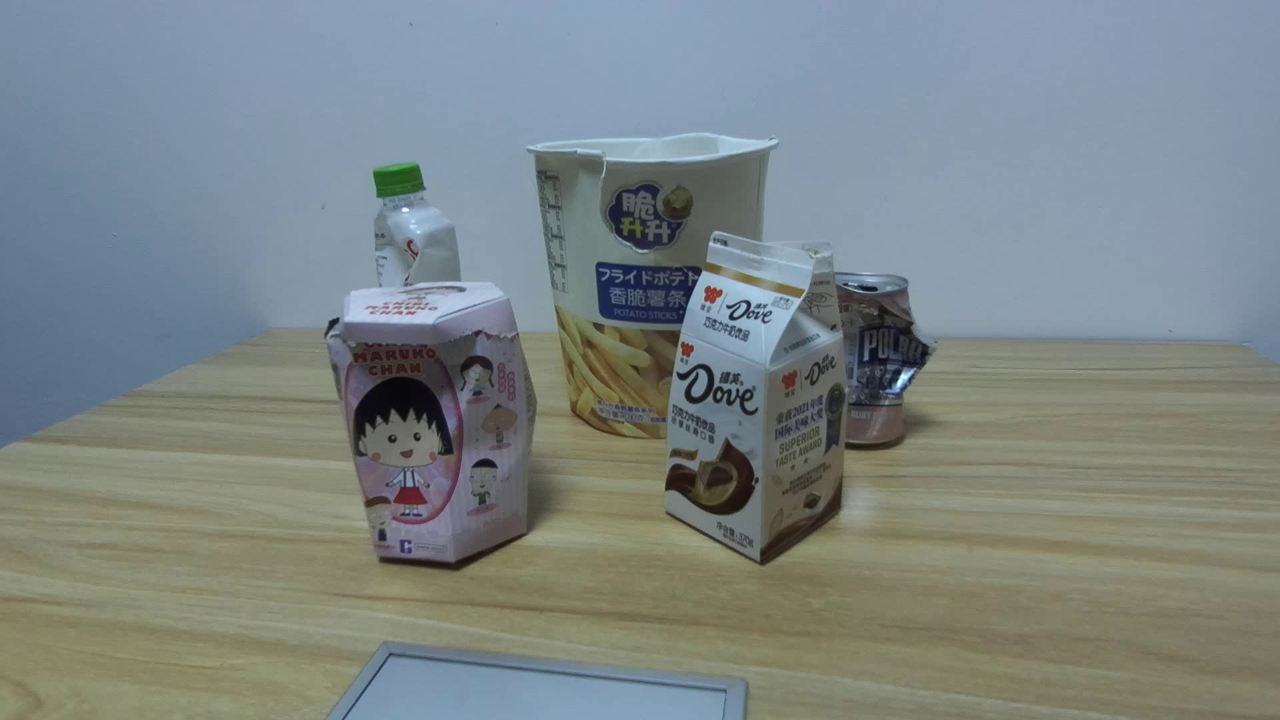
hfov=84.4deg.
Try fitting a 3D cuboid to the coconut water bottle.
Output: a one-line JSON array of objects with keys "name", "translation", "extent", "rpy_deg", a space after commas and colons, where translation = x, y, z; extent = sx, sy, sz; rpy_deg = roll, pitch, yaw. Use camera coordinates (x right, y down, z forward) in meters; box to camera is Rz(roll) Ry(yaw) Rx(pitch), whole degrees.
[{"name": "coconut water bottle", "translation": [-0.154, -0.041, 0.499], "extent": [0.069, 0.187, 0.069], "rpy_deg": [-2, 17, 1]}]

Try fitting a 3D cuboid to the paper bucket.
[{"name": "paper bucket", "translation": [0.013, -0.060, 0.518], "extent": [0.146, 0.197, 0.202], "rpy_deg": [-14, 22, -25]}]

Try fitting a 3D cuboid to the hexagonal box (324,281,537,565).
[{"name": "hexagonal box", "translation": [-0.110, 0.031, 0.382], "extent": [0.090, 0.134, 0.090], "rpy_deg": [-14, 23, -37]}]

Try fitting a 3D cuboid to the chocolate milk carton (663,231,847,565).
[{"name": "chocolate milk carton", "translation": [0.059, 0.012, 0.372], "extent": [0.073, 0.155, 0.084], "rpy_deg": [-20, 26, -37]}]
